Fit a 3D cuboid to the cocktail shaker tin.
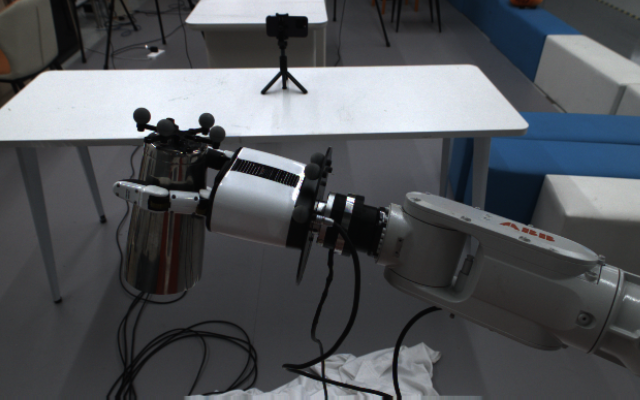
[{"bbox_3d":[-0.169,0.011,0.556,0.093,0.170,0.093,12,25,-6],"label":"cocktail shaker tin"}]
